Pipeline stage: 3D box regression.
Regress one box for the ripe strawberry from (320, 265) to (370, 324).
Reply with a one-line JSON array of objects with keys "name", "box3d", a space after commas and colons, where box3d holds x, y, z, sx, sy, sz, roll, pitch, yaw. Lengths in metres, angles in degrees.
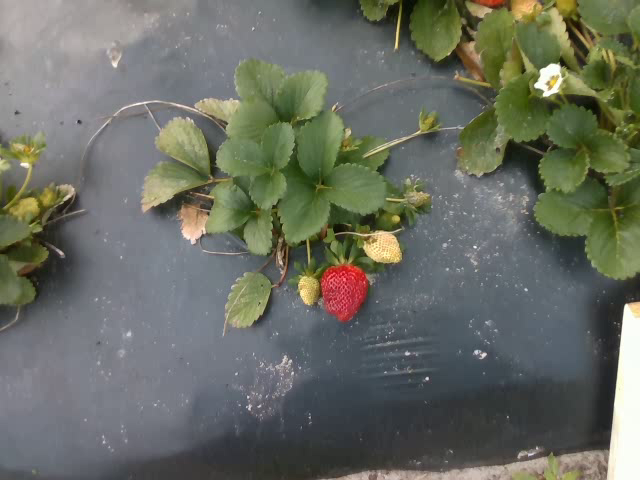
[{"name": "ripe strawberry", "box3d": [0.022, 0.050, 0.511, 0.046, 0.059, 0.046, -9, -41, 15]}]
